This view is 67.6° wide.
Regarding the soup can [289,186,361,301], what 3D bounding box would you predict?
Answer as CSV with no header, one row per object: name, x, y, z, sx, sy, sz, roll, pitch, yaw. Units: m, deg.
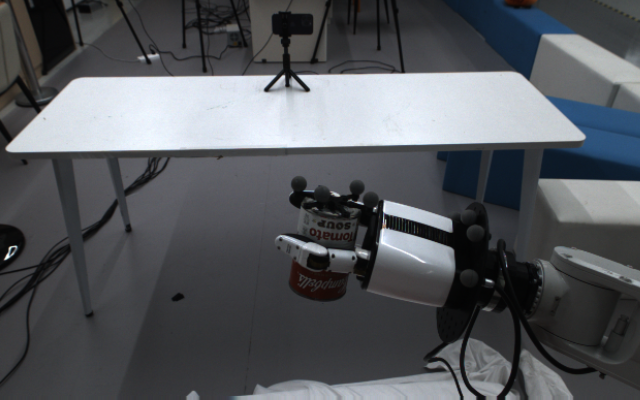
soup can,0.007,0.053,0.542,0.067,0.101,0.067,9,19,-3
